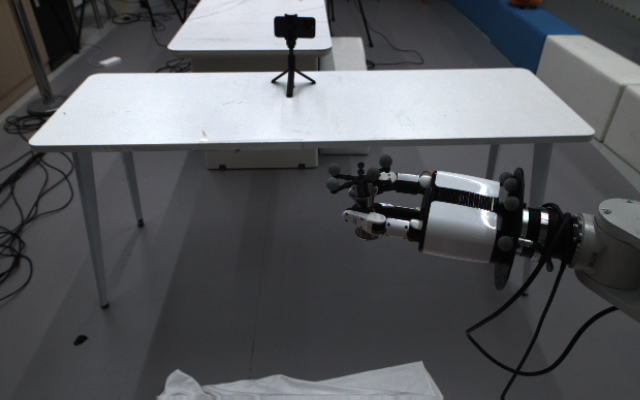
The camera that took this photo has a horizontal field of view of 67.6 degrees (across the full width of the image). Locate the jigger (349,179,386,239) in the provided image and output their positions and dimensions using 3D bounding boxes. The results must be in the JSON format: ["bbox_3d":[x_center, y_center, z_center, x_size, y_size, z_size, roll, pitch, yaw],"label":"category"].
[{"bbox_3d":[0.064,0.015,0.663,0.043,0.071,0.043,-10,32,6],"label":"jigger"}]
